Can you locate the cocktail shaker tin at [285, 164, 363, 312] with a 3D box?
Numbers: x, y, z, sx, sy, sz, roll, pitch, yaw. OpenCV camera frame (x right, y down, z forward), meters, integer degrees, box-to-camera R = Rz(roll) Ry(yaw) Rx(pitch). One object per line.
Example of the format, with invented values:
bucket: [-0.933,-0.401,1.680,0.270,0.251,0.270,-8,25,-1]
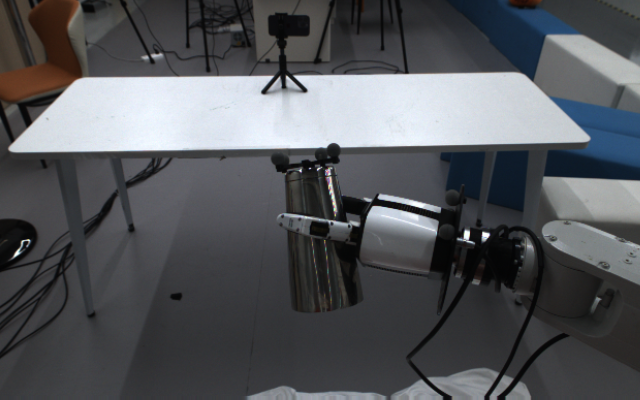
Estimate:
cocktail shaker tin: [-0.001,0.047,0.613,0.093,0.170,0.093,-8,1,0]
